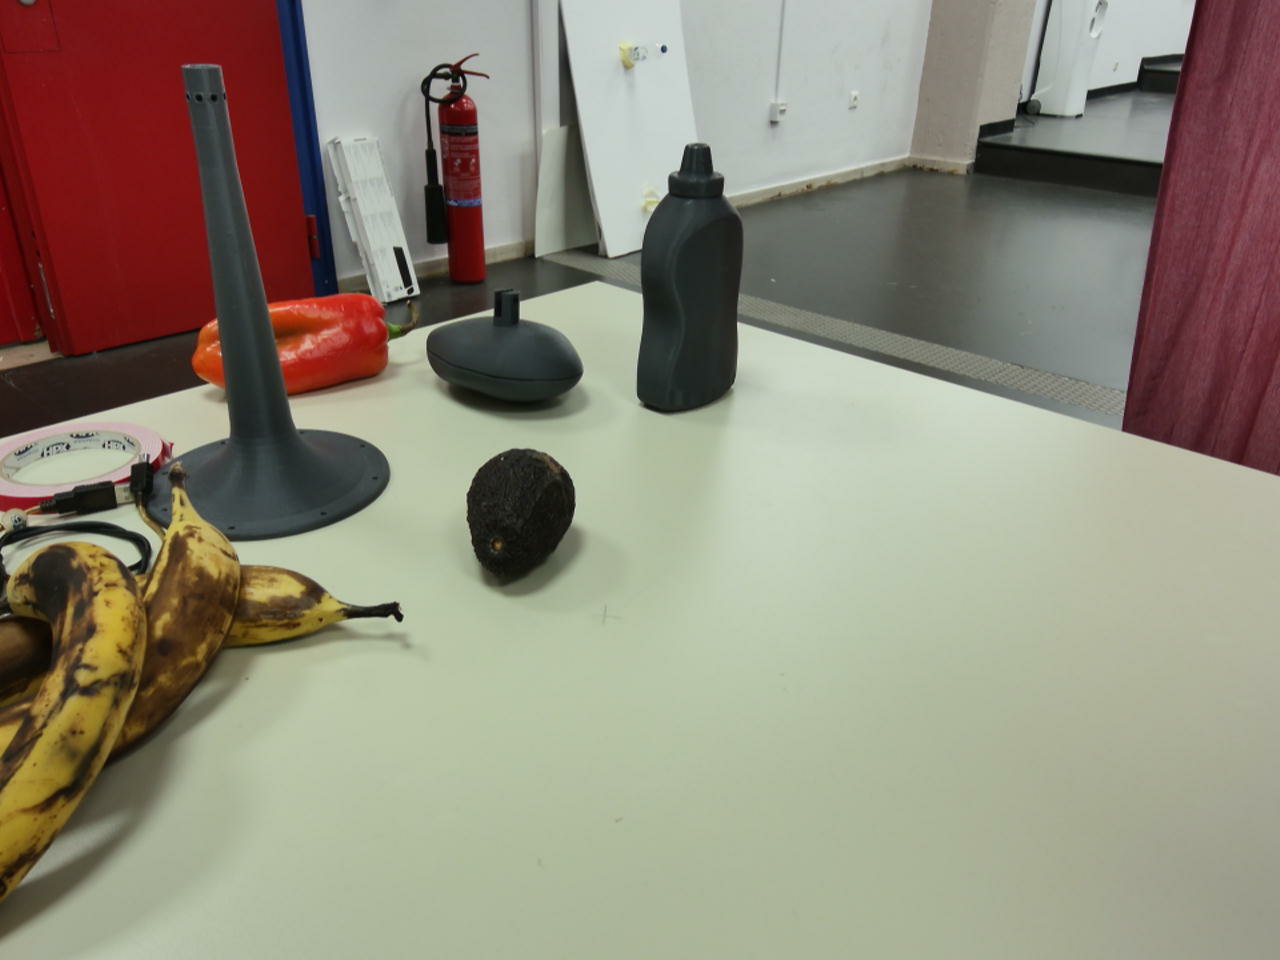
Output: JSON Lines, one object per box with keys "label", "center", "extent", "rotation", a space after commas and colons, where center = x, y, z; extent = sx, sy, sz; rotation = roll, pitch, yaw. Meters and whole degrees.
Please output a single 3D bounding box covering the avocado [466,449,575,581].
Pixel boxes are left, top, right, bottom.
{"label": "avocado", "center": [-0.072, 0.017, 0.579], "extent": [0.062, 0.062, 0.092], "rotation": [8, 27, 16]}
